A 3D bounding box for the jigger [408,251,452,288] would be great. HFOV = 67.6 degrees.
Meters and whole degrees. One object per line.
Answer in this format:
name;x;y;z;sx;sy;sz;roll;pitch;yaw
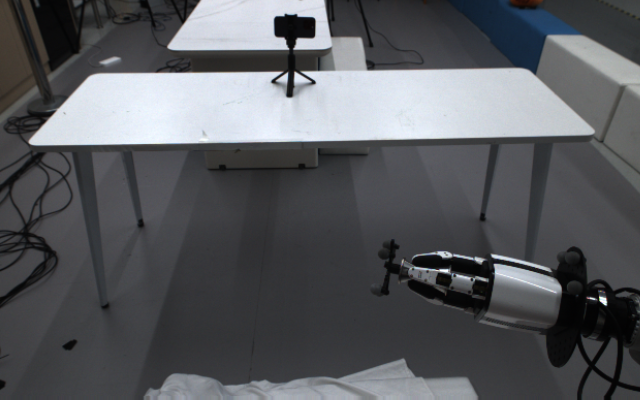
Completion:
jigger;0.155;0.102;0.688;0.071;0.043;0.043;10;35;16
